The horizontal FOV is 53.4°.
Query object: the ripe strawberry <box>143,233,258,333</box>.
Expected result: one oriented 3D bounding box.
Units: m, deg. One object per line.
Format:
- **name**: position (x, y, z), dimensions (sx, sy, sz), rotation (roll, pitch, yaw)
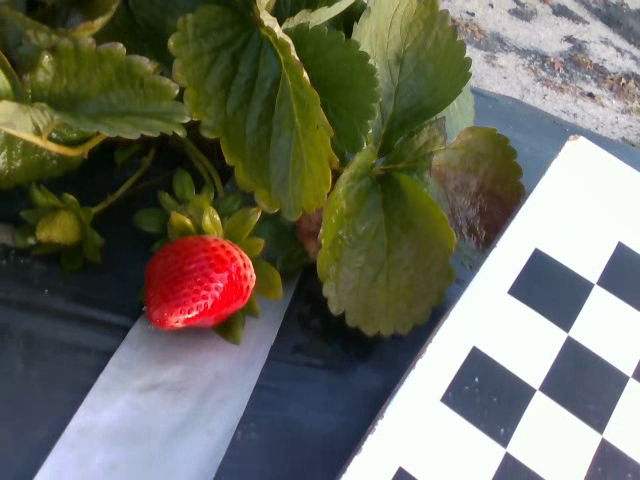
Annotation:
- **ripe strawberry**: position (-0.040, 0.016, 0.202), dimensions (0.050, 0.036, 0.055), rotation (34, 43, 2)
